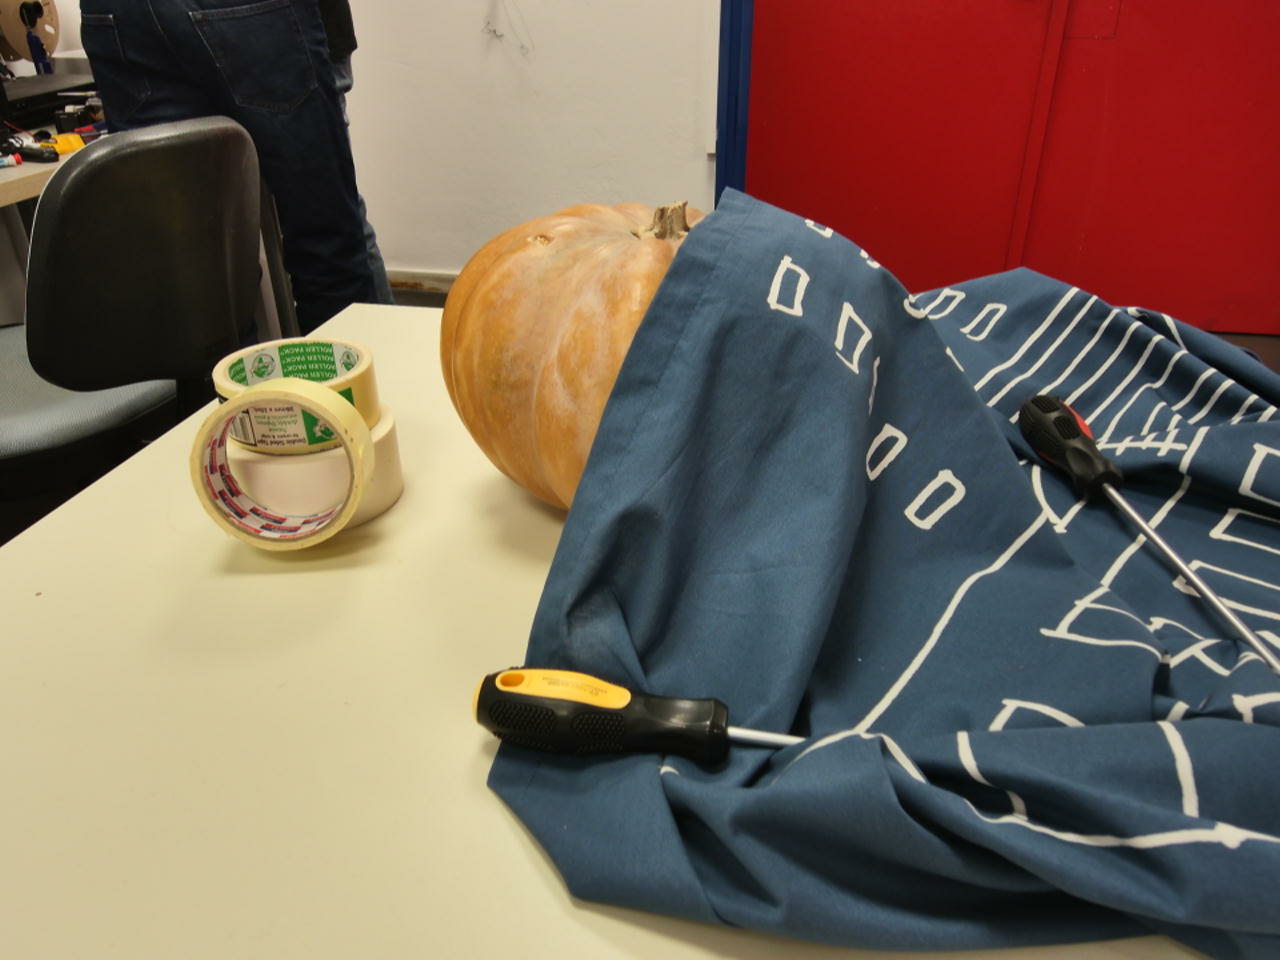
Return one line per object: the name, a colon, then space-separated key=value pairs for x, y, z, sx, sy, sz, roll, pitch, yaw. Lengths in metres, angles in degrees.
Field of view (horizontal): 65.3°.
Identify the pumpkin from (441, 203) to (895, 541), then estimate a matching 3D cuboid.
pumpkin: x=0.014 y=-0.075 z=0.604 sx=0.277 sy=0.181 sz=0.277 roll=0 pitch=26 yaw=0
